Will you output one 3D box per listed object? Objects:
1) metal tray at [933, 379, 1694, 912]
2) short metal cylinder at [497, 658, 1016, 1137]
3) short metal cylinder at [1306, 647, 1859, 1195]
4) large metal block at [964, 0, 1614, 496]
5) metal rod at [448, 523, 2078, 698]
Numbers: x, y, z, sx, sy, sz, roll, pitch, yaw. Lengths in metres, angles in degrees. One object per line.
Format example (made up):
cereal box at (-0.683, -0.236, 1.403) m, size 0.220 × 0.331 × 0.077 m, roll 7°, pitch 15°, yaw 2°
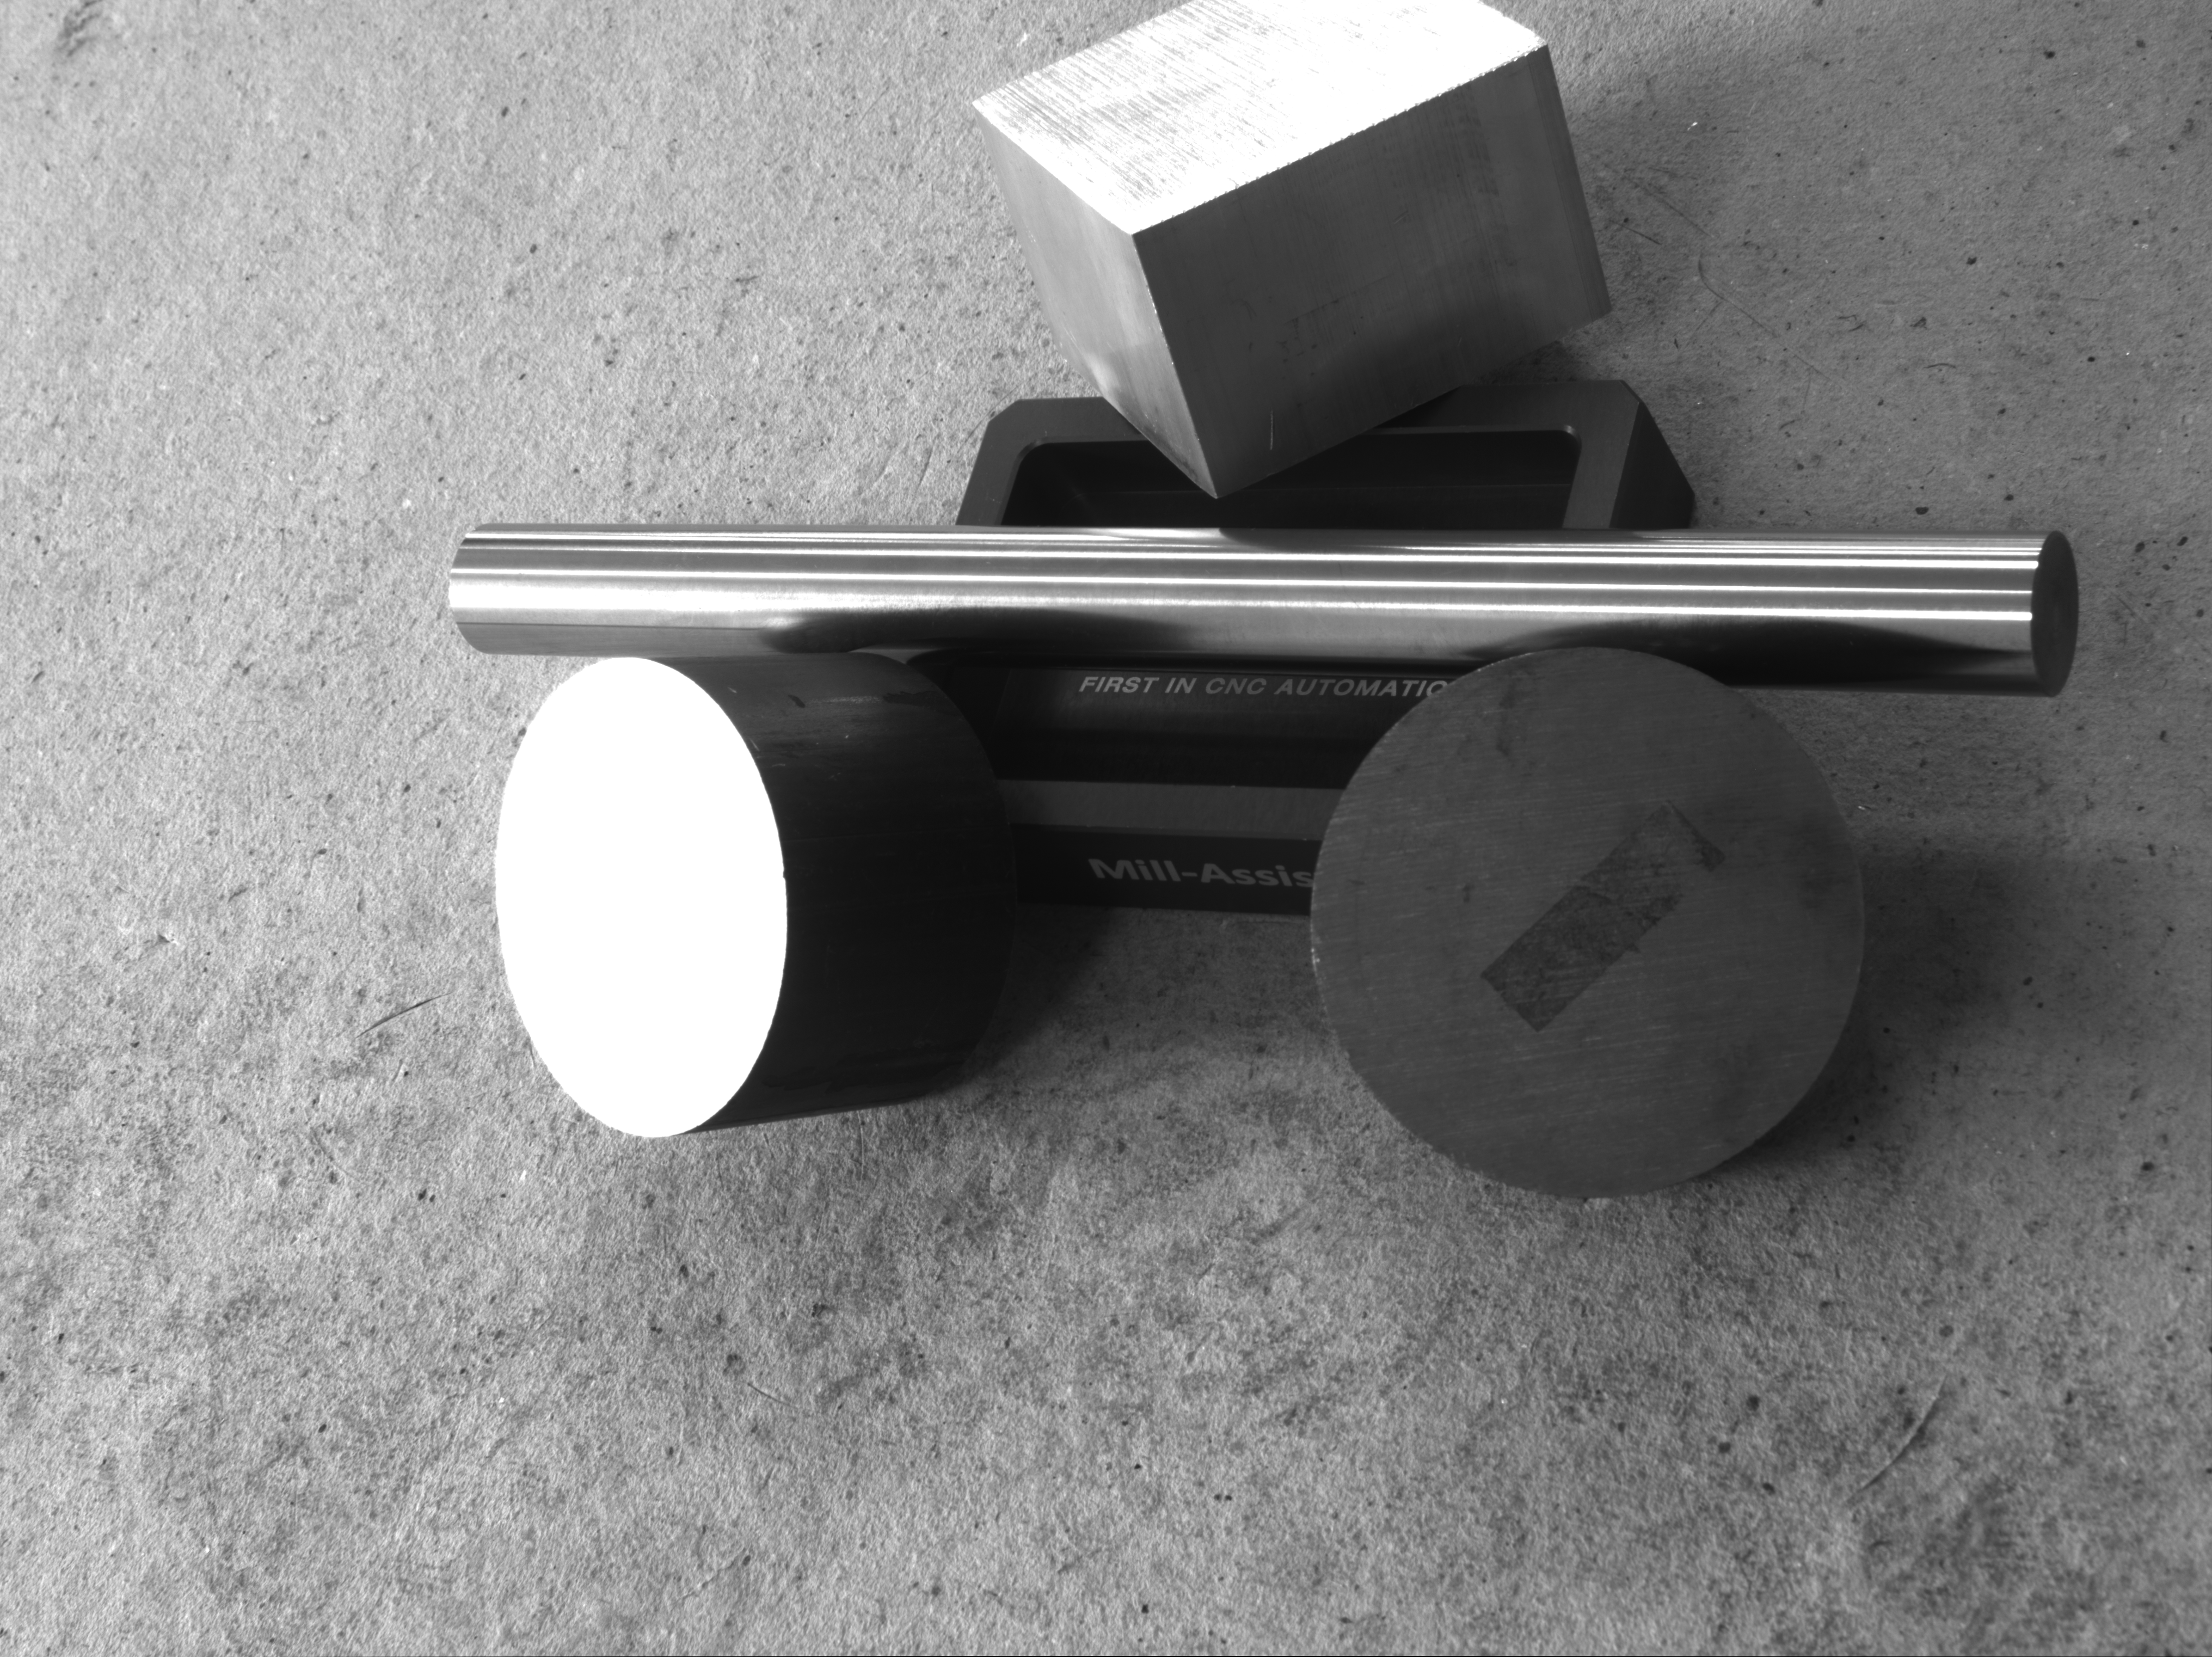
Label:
metal tray at (0.030, -0.032, 0.647) m, size 0.130 × 0.030 × 0.090 m, roll 2°, pitch 62°, yaw 29°
short metal cylinder at (-0.061, 0.010, 0.633) m, size 0.080 × 0.050 × 0.080 m, roll 4°, pitch 96°, yaw 46°
short metal cylinder at (0.073, 0.016, 0.559) m, size 0.080 × 0.050 × 0.080 m, roll -1°, pitch 84°, yaw 9°
large metal block at (0.031, -0.112, 0.654) m, size 0.080 × 0.050 × 0.080 m, roll -26°, pitch 34°, yaw -9°
metal rod at (0.013, -0.039, 0.624) m, size 0.299 × 0.025 × 0.025 m, roll 3°, pitch 63°, yaw 30°
